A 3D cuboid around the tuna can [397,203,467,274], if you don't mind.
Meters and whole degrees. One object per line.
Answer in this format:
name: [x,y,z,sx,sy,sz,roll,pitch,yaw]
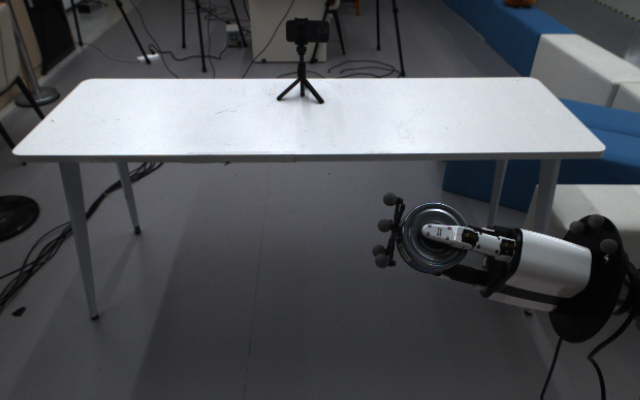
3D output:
tuna can: [0.142,0.045,0.601,0.085,0.034,0.085,2,73,-6]
